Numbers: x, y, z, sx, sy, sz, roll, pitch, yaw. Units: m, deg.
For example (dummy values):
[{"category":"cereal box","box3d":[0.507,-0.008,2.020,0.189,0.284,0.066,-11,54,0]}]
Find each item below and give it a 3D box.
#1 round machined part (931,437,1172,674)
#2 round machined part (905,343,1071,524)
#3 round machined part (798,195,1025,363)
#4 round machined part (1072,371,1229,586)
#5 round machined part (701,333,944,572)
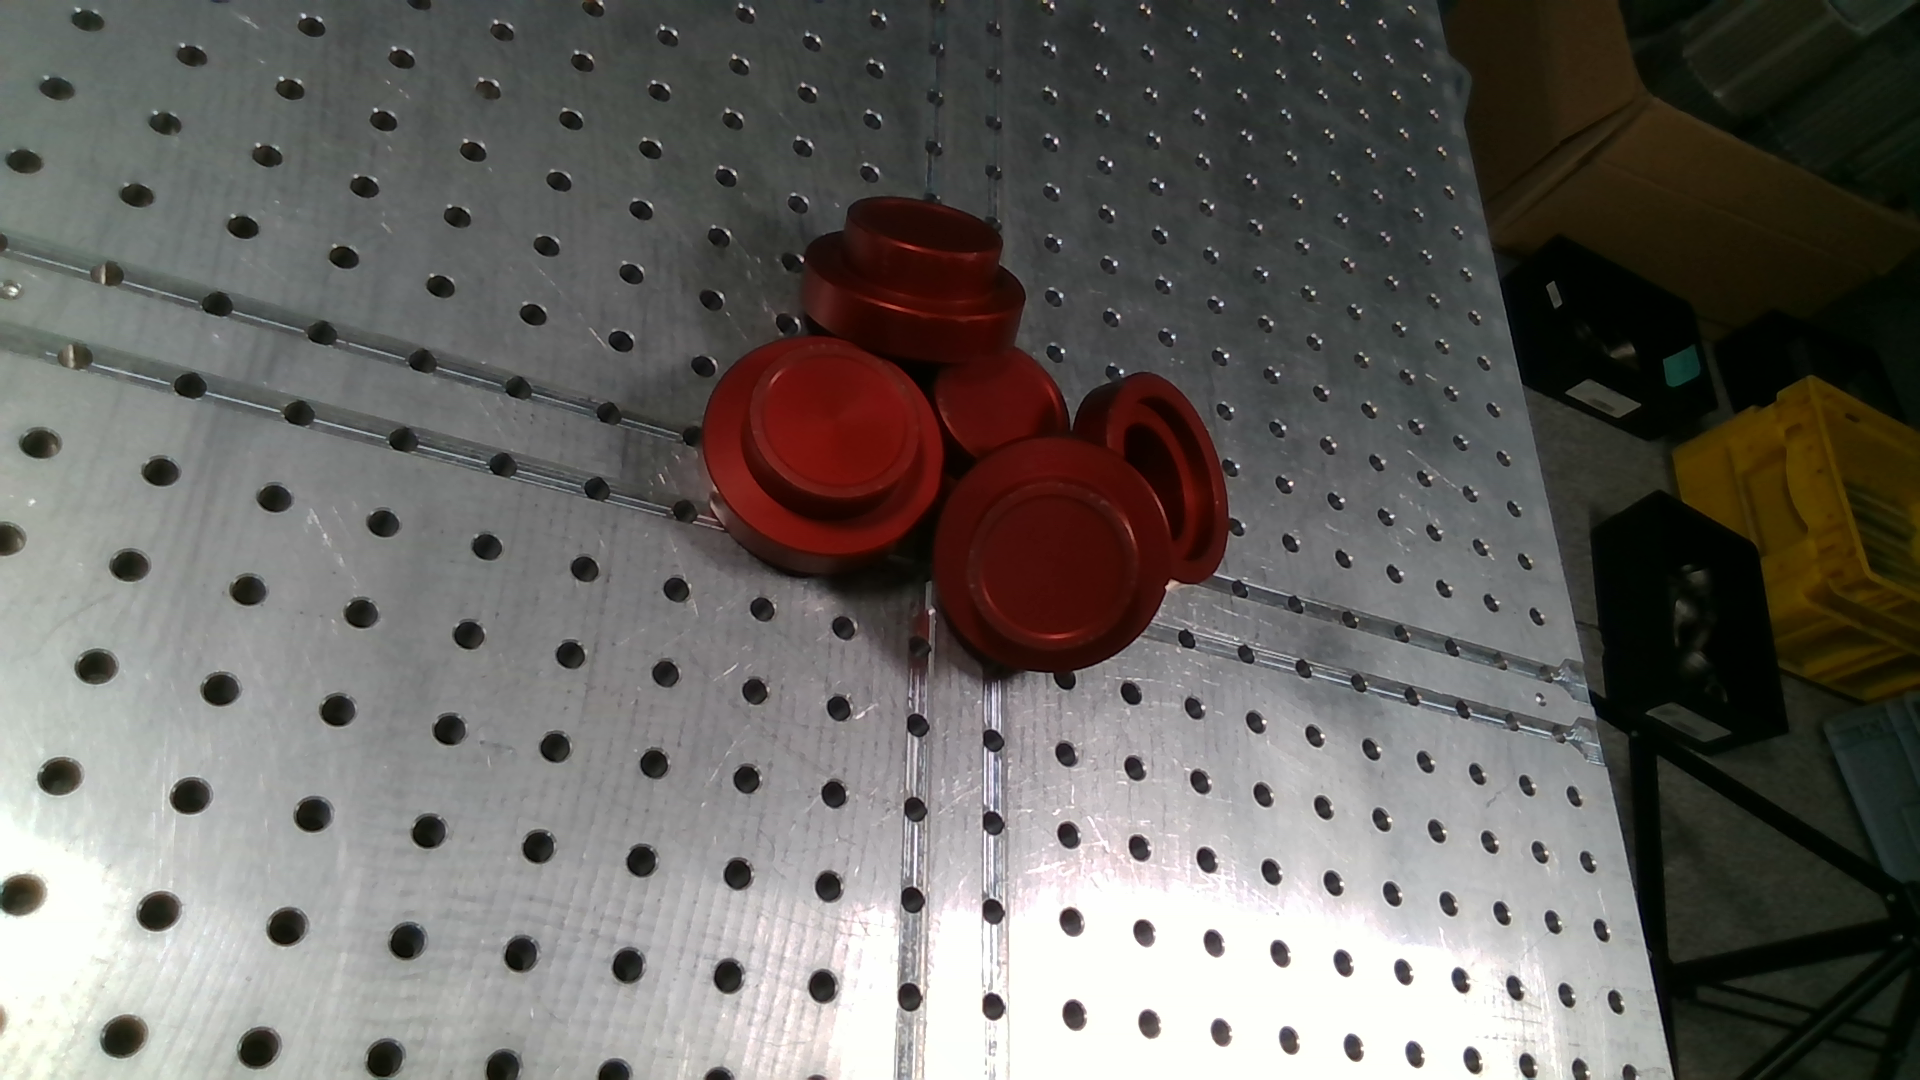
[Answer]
[{"category":"round machined part","box3d":[0.037,0.007,0.559,0.098,0.098,0.042,43,10,-5]},{"category":"round machined part","box3d":[0.010,-0.052,0.610,0.098,0.042,0.098,14,59,-25]},{"category":"round machined part","box3d":[-0.019,-0.118,0.599,0.098,0.042,0.098,11,31,-6]},{"category":"round machined part","box3d":[0.079,-0.024,0.625,0.098,0.042,0.098,23,60,-45]},{"category":"round machined part","box3d":[-0.053,-0.040,0.551,0.098,0.042,0.098,7,67,-16]}]
